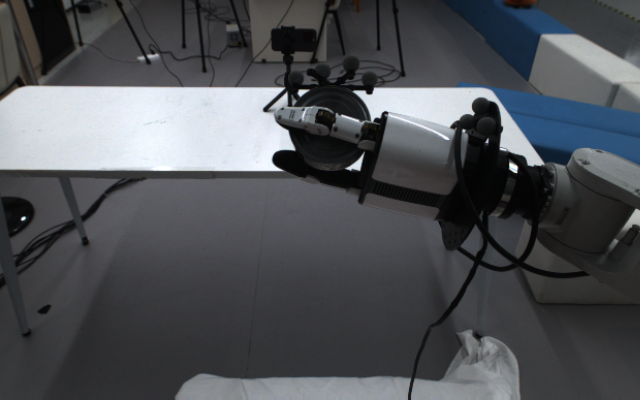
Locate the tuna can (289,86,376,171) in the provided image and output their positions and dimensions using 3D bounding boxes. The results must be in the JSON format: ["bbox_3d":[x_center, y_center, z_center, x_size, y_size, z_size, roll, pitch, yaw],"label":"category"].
[{"bbox_3d":[0.011,-0.076,0.514,0.085,0.034,0.085,-1,76,4],"label":"tuna can"}]
